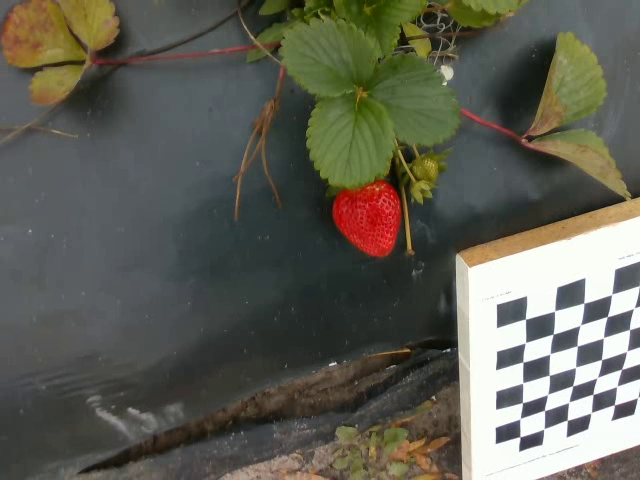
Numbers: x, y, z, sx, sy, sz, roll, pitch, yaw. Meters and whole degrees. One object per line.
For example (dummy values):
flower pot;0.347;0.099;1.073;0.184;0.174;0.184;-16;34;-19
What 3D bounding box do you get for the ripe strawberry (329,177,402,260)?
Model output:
ripe strawberry;0.010;-0.003;0.105;0.018;0.017;0.014;-16;-10;-18
